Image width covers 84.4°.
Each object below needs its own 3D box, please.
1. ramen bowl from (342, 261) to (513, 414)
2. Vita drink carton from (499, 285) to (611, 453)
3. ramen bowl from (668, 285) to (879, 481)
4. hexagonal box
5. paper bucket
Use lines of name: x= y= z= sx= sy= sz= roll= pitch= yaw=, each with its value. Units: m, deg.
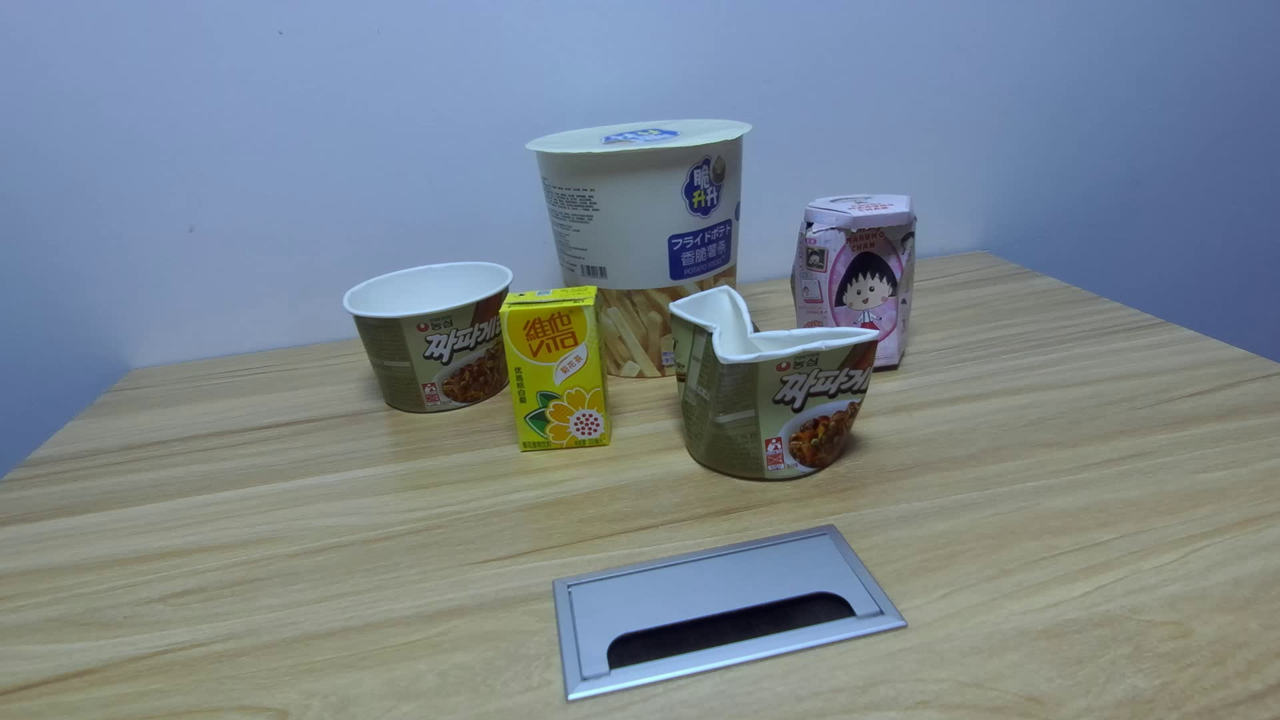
ramen bowl: x=-0.173 y=-0.021 z=0.613 sx=0.140 sy=0.095 sz=0.140 roll=-4 pitch=24 yaw=2
Vita drink carton: x=-0.057 y=0.006 z=0.504 sx=0.066 sy=0.109 sz=0.043 roll=-4 pitch=24 yaw=2
ramen bowl: x=0.082 y=0.011 z=0.482 sx=0.112 sy=0.093 sz=0.128 roll=-12 pitch=25 yaw=-14
hexagonal box: x=0.178 y=-0.065 z=0.590 sx=0.091 sy=0.134 sz=0.090 roll=9 pitch=24 yaw=31
paper bucket: x=0.006 y=-0.100 z=0.629 sx=0.198 sy=0.195 sz=0.198 roll=-4 pitch=24 yaw=2
